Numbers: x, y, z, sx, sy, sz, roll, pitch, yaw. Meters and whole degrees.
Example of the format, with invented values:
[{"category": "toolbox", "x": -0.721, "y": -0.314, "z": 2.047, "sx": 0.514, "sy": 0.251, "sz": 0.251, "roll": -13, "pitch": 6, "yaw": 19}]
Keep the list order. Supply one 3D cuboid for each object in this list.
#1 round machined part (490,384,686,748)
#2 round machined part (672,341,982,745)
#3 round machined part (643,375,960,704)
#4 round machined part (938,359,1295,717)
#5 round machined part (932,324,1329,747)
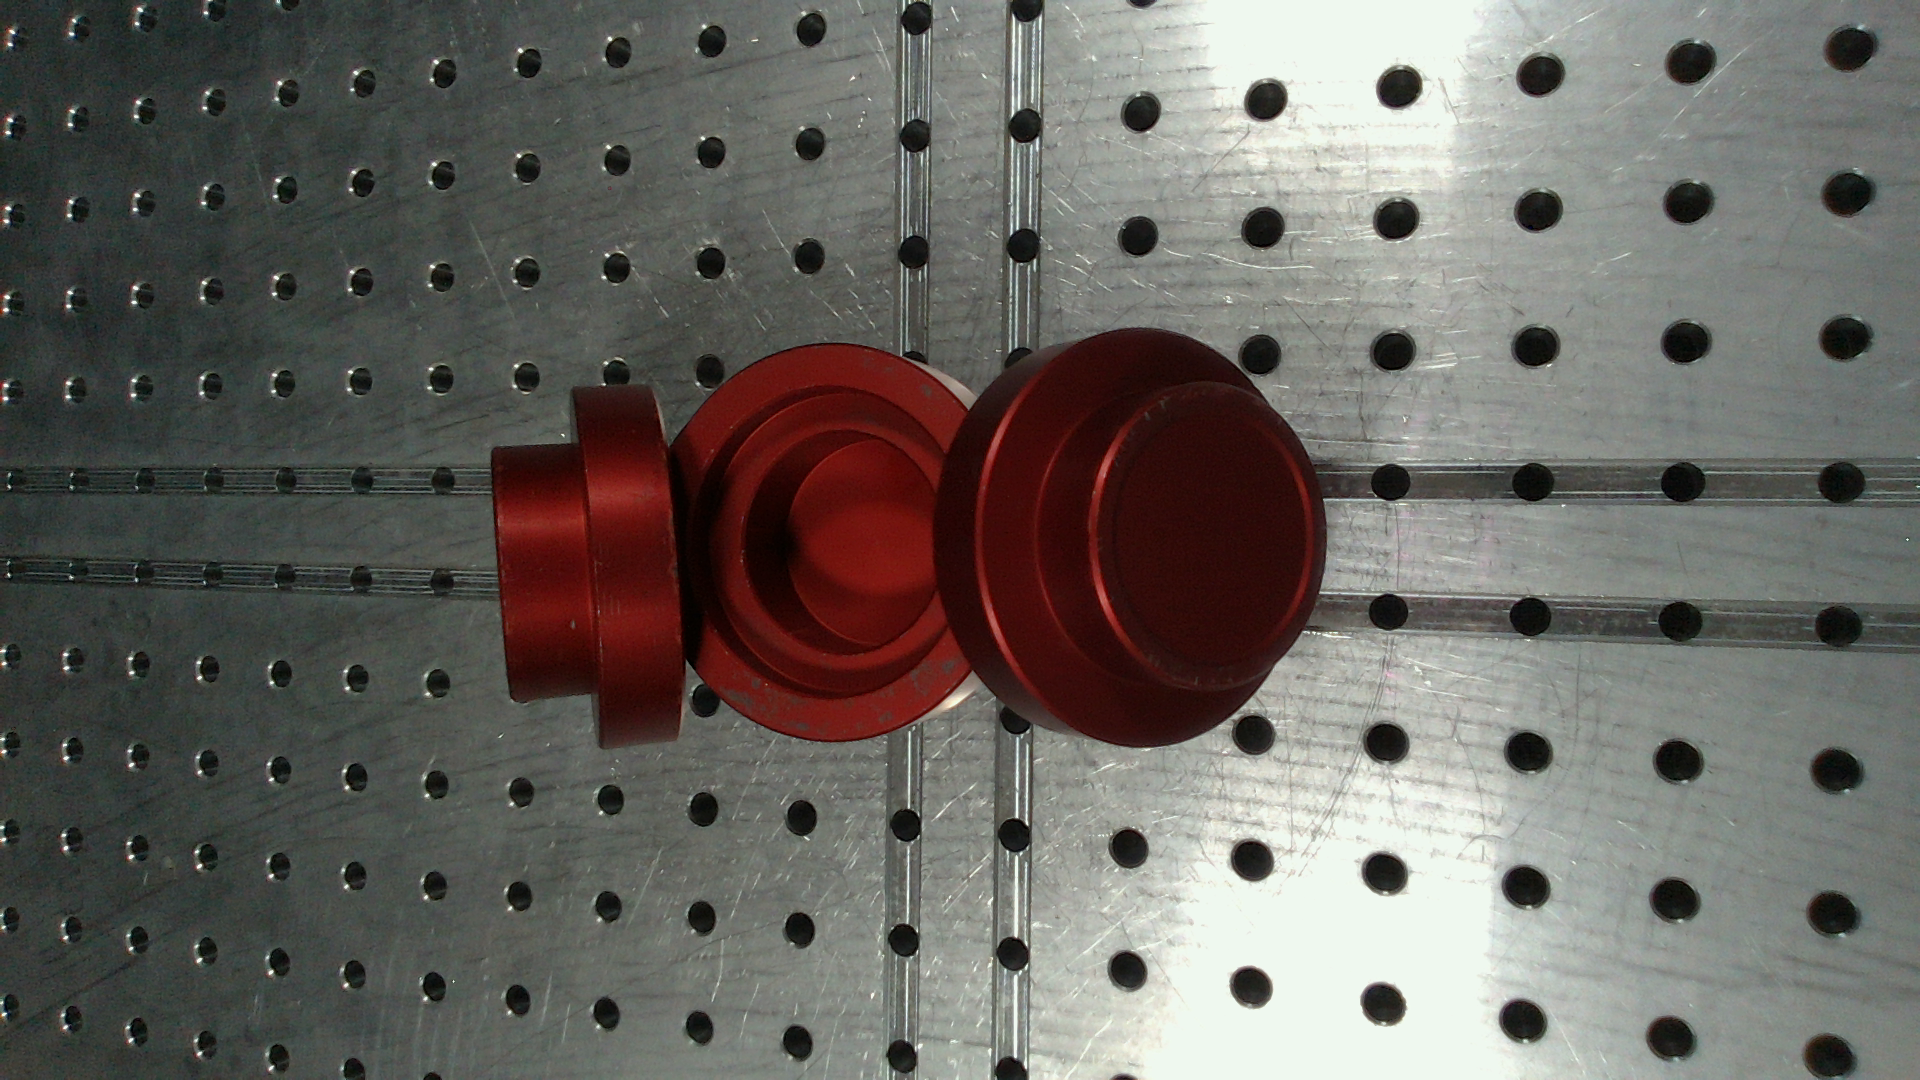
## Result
[{"category": "round machined part", "x": -0.102, "y": 0.008, "z": 0.372, "sx": 0.042, "sy": 0.098, "sz": 0.098, "roll": -5, "pitch": 88, "yaw": -17}, {"category": "round machined part", "x": -0.026, "y": 0.001, "z": 0.353, "sx": 0.098, "sy": 0.042, "sz": 0.098, "roll": 0, "pitch": 90, "yaw": 20}, {"category": "round machined part", "x": -0.053, "y": 0.000, "z": 0.408, "sx": 0.098, "sy": 0.042, "sz": 0.098, "roll": 0, "pitch": 90, "yaw": 20}, {"category": "round machined part", "x": 0.039, "y": 0.000, "z": 0.375, "sx": 0.098, "sy": 0.042, "sz": 0.098, "roll": 0, "pitch": 90, "yaw": 20}, {"category": "round machined part", "x": 0.046, "y": -0.001, "z": 0.318, "sx": 0.042, "sy": 0.098, "sz": 0.098, "roll": 0, "pitch": 90, "yaw": 60}]
